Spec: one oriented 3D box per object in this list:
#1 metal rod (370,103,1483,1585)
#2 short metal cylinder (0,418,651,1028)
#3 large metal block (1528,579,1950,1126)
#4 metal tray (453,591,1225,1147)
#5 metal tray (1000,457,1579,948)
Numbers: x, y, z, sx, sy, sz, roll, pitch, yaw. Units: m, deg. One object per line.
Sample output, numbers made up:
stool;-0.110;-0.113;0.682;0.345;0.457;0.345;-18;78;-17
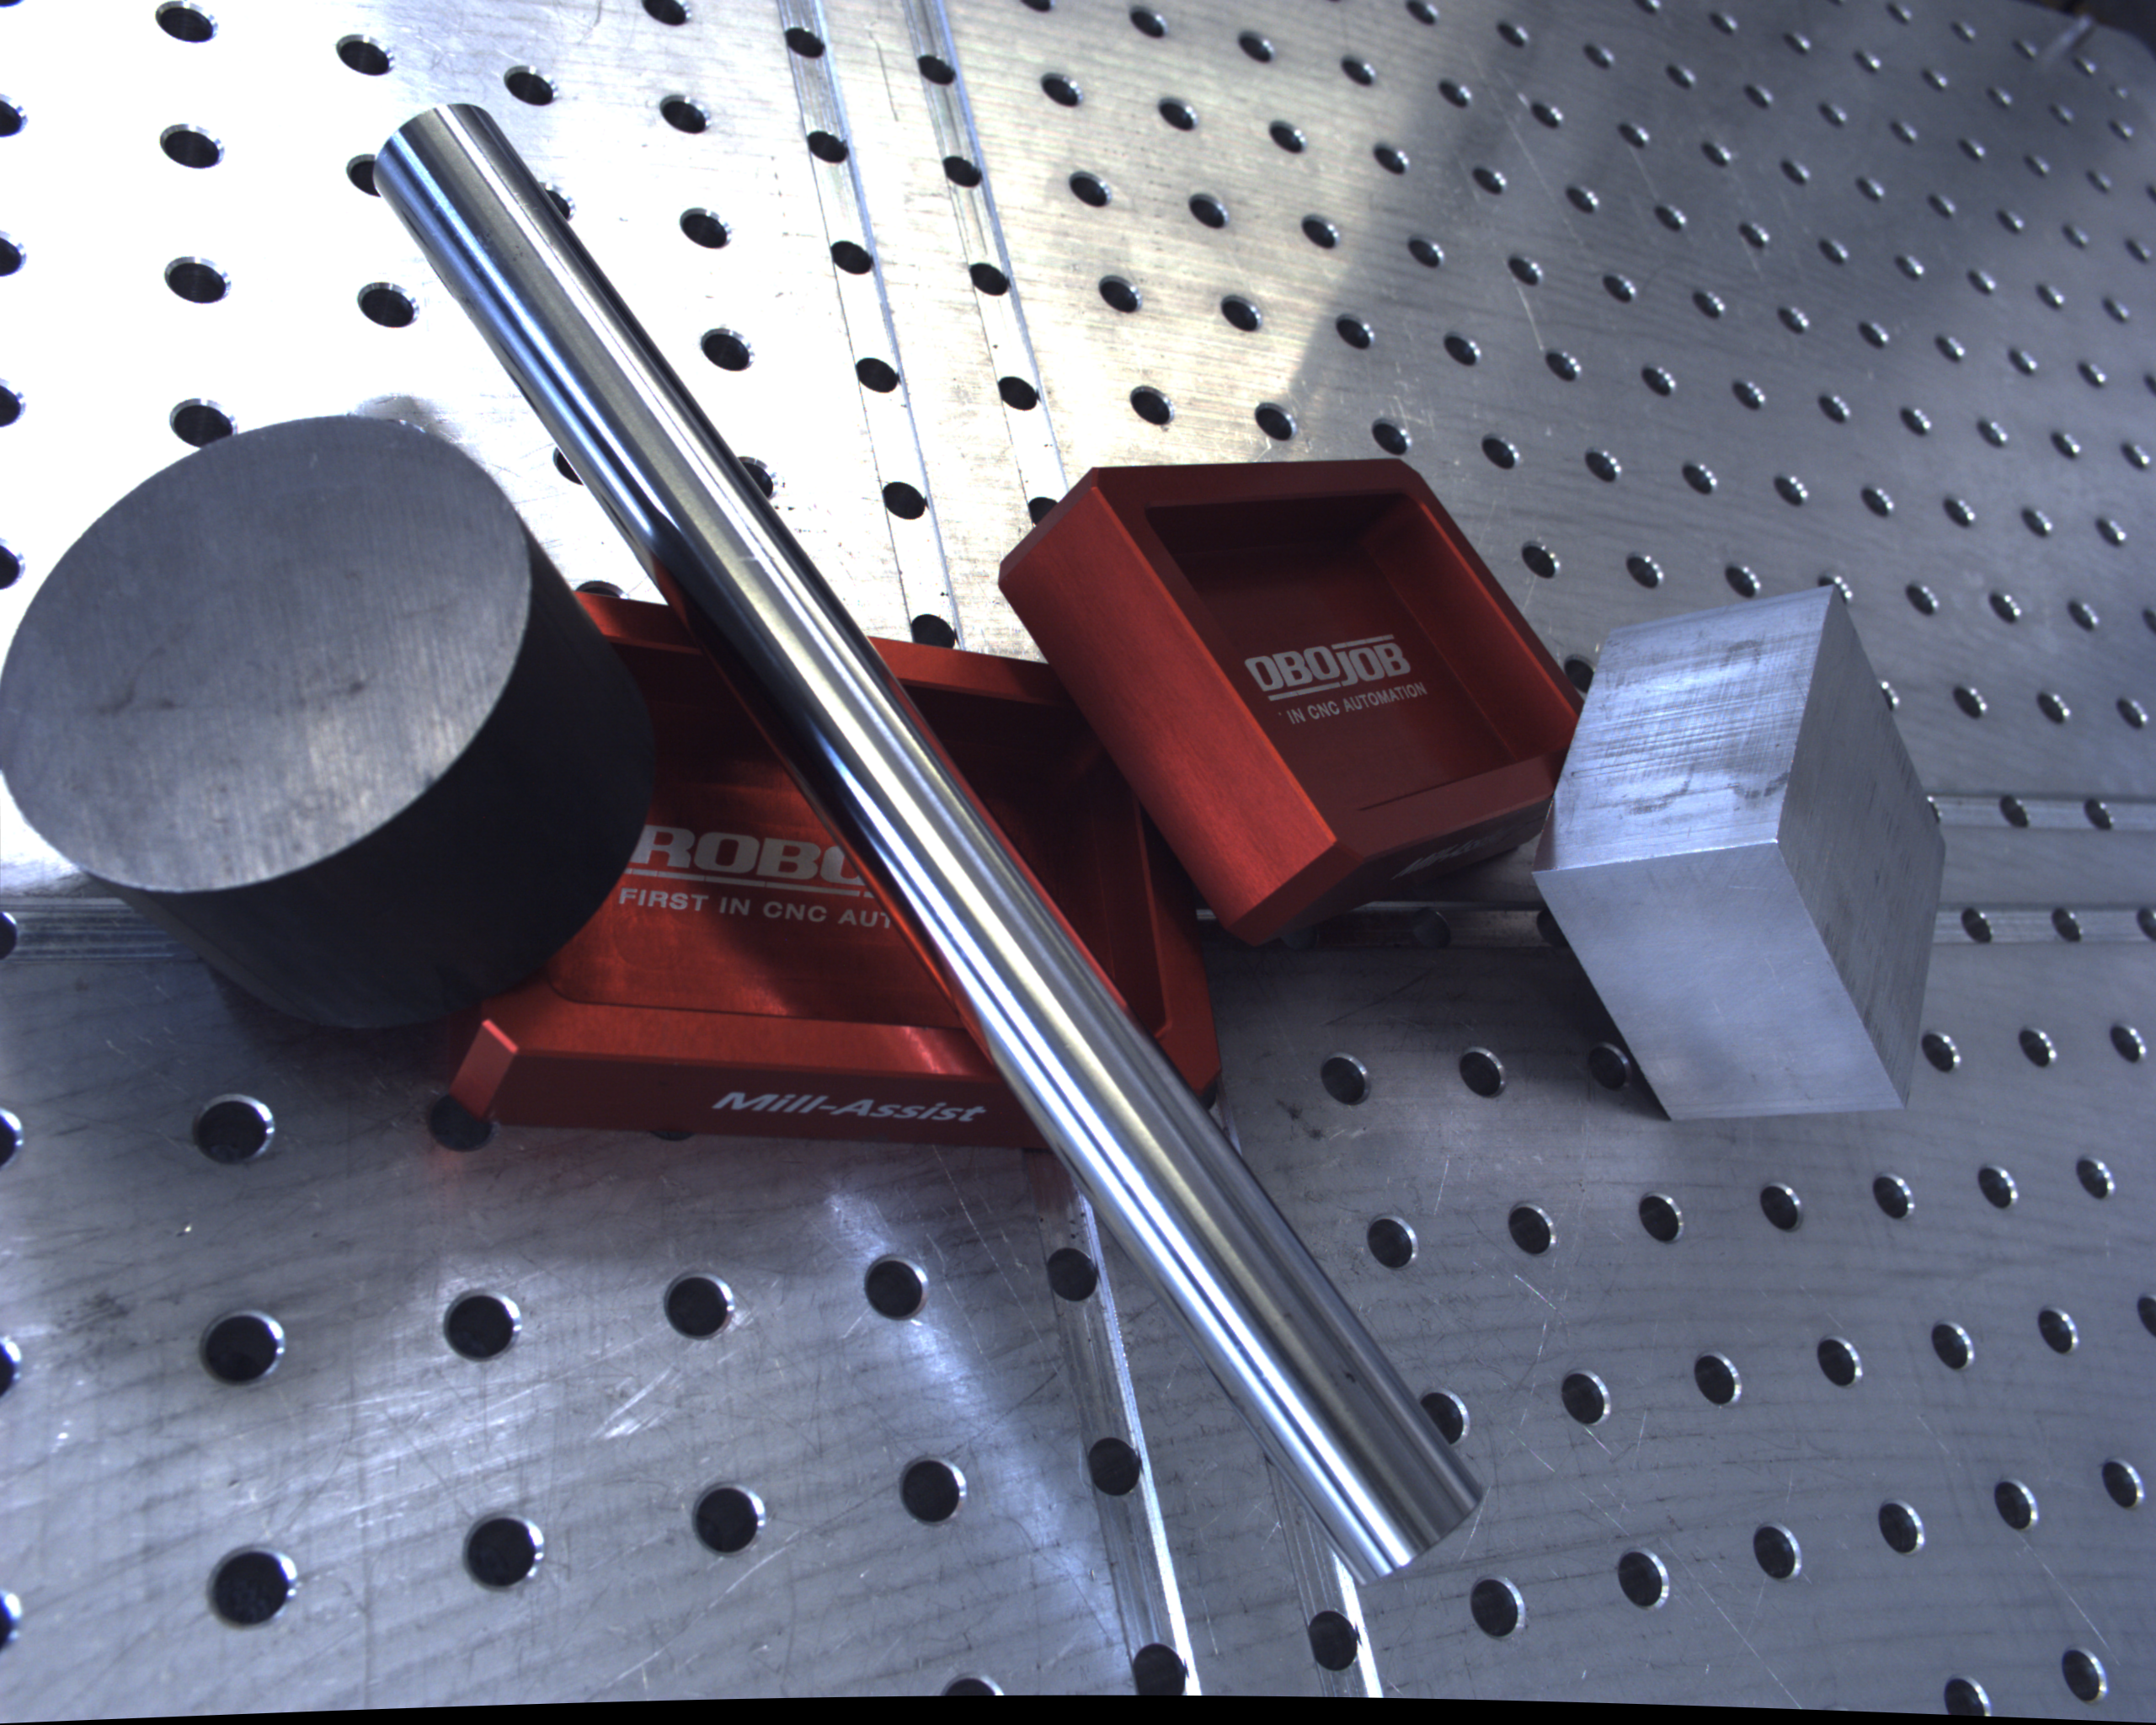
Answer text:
metal rod;-0.032;-0.011;0.359;0.025;0.025;0.299;-28;77;-37
short metal cylinder;-0.113;-0.021;0.321;0.080;0.050;0.080;-4;63;9
large metal block;0.145;-0.001;0.448;0.080;0.050;0.080;55;45;-30
metal tray;-0.043;0.003;0.379;0.131;0.030;0.090;6;59;-25
metal tray;0.054;-0.039;0.433;0.131;0.030;0.090;-16;70;-52
